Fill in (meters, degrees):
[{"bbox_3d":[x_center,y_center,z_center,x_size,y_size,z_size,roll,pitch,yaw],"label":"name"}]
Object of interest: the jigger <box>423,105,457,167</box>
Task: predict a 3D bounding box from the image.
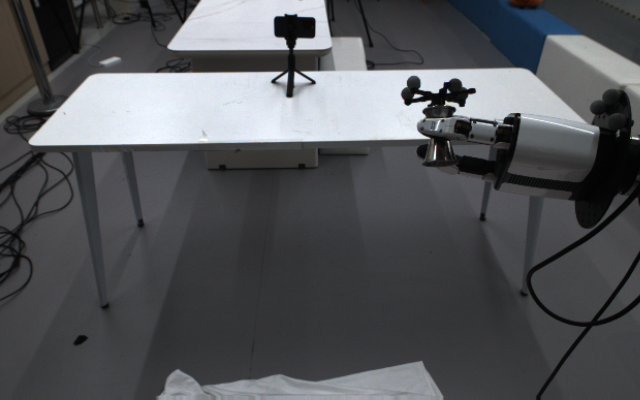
[{"bbox_3d":[0.146,-0.079,0.596,0.043,0.071,0.043,1,-5,0],"label":"jigger"}]
